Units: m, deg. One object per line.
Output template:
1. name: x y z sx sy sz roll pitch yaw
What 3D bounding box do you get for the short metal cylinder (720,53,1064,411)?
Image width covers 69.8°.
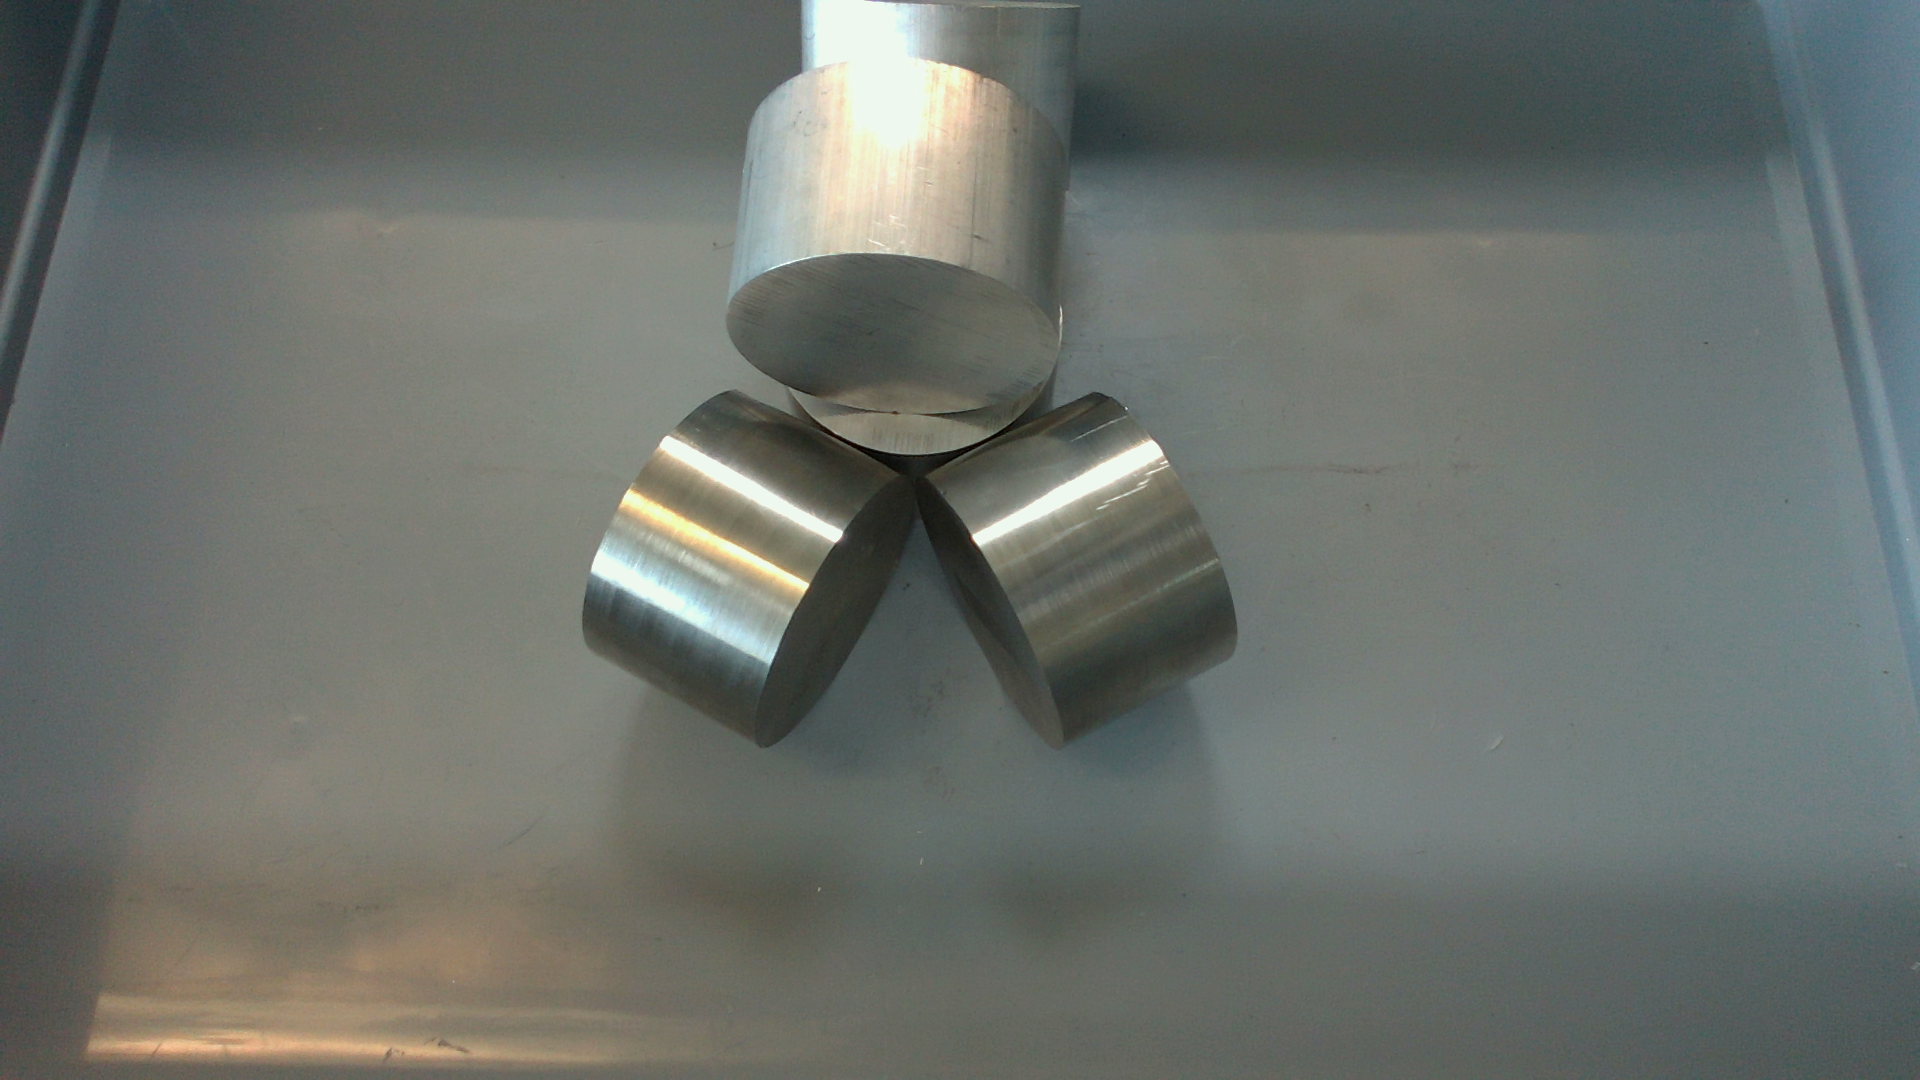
1. short metal cylinder: -0.015 -0.072 0.336 0.080 0.080 0.050 3 70 1

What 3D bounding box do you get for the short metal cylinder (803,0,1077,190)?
1. short metal cylinder: -0.007 -0.132 0.406 0.080 0.080 0.050 4 112 1

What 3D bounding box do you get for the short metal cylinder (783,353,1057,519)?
1. short metal cylinder: -0.012 -0.052 0.398 0.080 0.050 0.080 0 70 0

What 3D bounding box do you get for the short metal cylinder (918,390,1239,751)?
1. short metal cylinder: 0.030 0.008 0.361 0.050 0.080 0.080 -27 72 -9

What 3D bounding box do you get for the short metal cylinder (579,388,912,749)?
1. short metal cylinder: -0.054 0.007 0.361 0.050 0.080 0.080 27 72 10
